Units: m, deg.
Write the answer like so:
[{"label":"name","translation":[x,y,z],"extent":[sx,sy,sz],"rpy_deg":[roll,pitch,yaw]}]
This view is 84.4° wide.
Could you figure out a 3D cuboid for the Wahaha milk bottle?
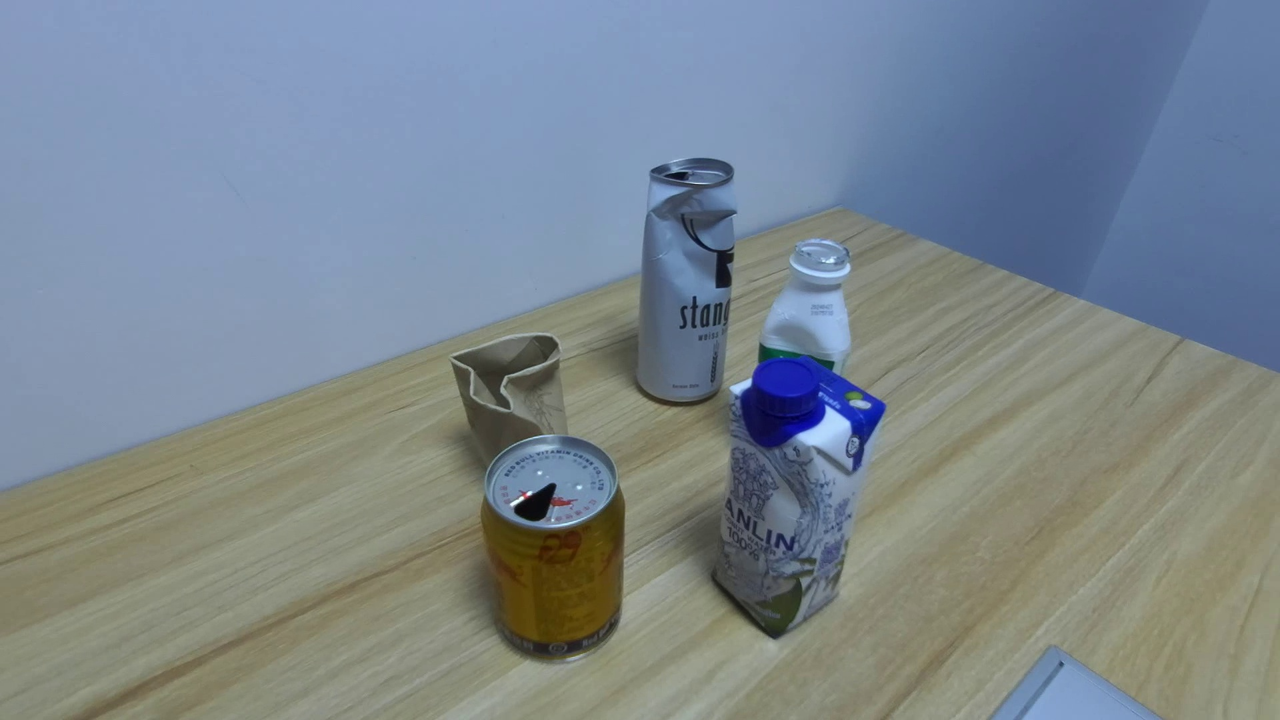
[{"label":"Wahaha milk bottle","translation":[0.100,-0.004,0.431],"extent":[0.055,0.149,0.055],"rpy_deg":[0,39,0]}]

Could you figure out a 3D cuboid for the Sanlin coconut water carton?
[{"label":"Sanlin coconut water carton","translation":[0.074,0.063,0.347],"extent":[0.061,0.144,0.060],"rpy_deg":[-20,37,-32]}]

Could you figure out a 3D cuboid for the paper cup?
[{"label":"paper cup","translation":[-0.070,0.035,0.430],"extent":[0.067,0.083,0.058],"rpy_deg":[-19,39,-24]}]

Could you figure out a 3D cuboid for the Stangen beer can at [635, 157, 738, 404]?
[{"label":"Stangen beer can","translation":[0.031,-0.051,0.487],"extent":[0.066,0.166,0.066],"rpy_deg":[-2,33,-4]}]

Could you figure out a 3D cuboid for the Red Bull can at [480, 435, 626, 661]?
[{"label":"Red Bull can","translation":[-0.040,0.090,0.342],"extent":[0.067,0.093,0.067],"rpy_deg":[2,34,-1]}]
